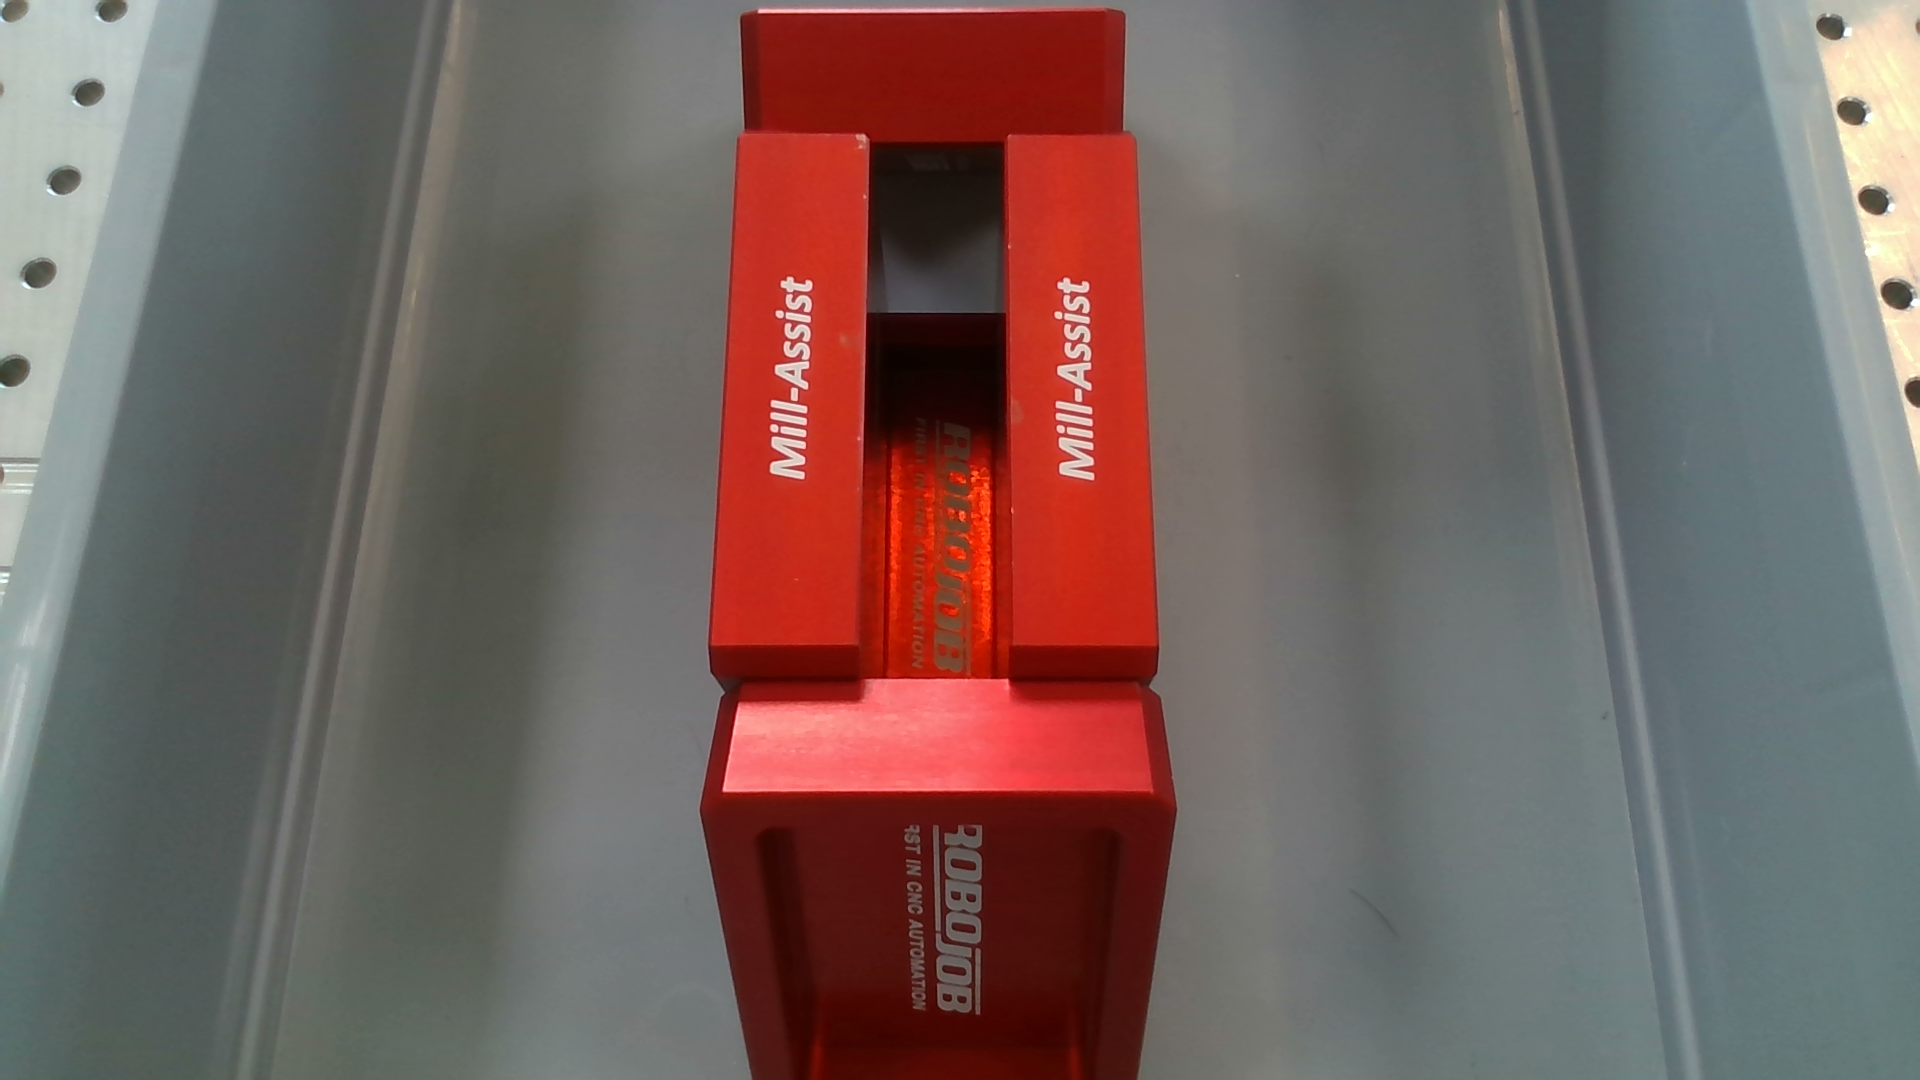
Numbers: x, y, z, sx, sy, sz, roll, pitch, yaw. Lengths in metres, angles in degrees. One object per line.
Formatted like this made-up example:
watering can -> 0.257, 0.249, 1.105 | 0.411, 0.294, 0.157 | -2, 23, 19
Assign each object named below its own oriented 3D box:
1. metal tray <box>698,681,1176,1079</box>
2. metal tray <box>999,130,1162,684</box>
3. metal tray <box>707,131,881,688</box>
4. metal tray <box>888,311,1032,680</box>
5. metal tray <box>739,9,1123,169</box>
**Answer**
metal tray -> -0.004, 0.087, 0.309 | 0.090, 0.130, 0.030 | 0, 41, 0
metal tray -> 0.025, -0.020, 0.335 | 0.030, 0.090, 0.130 | 0, 70, 0
metal tray -> -0.036, -0.020, 0.335 | 0.030, 0.090, 0.130 | 0, 71, 0
metal tray -> -0.006, -0.001, 0.392 | 0.090, 0.030, 0.130 | -1, 71, 0
metal tray -> -0.006, -0.121, 0.383 | 0.090, 0.130, 0.030 | 0, 102, 1
